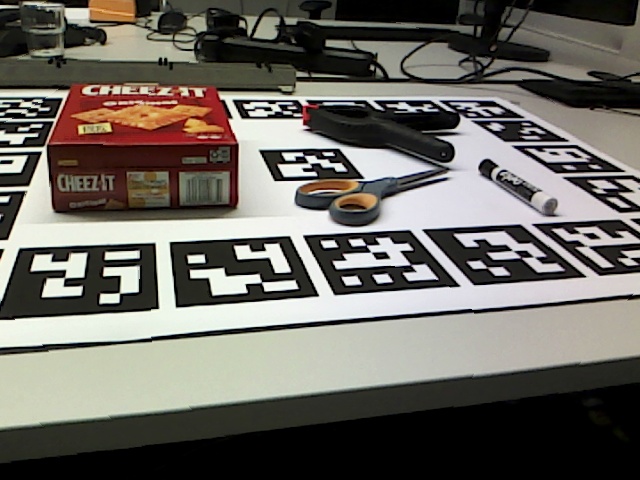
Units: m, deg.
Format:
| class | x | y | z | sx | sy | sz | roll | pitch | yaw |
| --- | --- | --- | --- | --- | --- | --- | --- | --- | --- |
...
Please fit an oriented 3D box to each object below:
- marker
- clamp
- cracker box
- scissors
| class | x | y | z | sx | sy | sz | roll | pitch | yaw |
| --- | --- | --- | --- | --- | --- | --- | --- | --- | --- |
| marker | 0.208 | -0.060 | 0.674 | 0.019 | 0.019 | 0.122 | -5 | 28 | -18 |
| clamp | 0.070 | -0.140 | 0.819 | 0.203 | 0.036 | 0.165 | 12 | 27 | 12 |
| cracker box | -0.173 | -0.104 | 0.643 | 0.164 | 0.072 | 0.215 | -2 | 28 | -14 |
| scissors | 0.070 | -0.055 | 0.643 | 0.201 | 0.016 | 0.088 | -18 | 34 | -41 |
